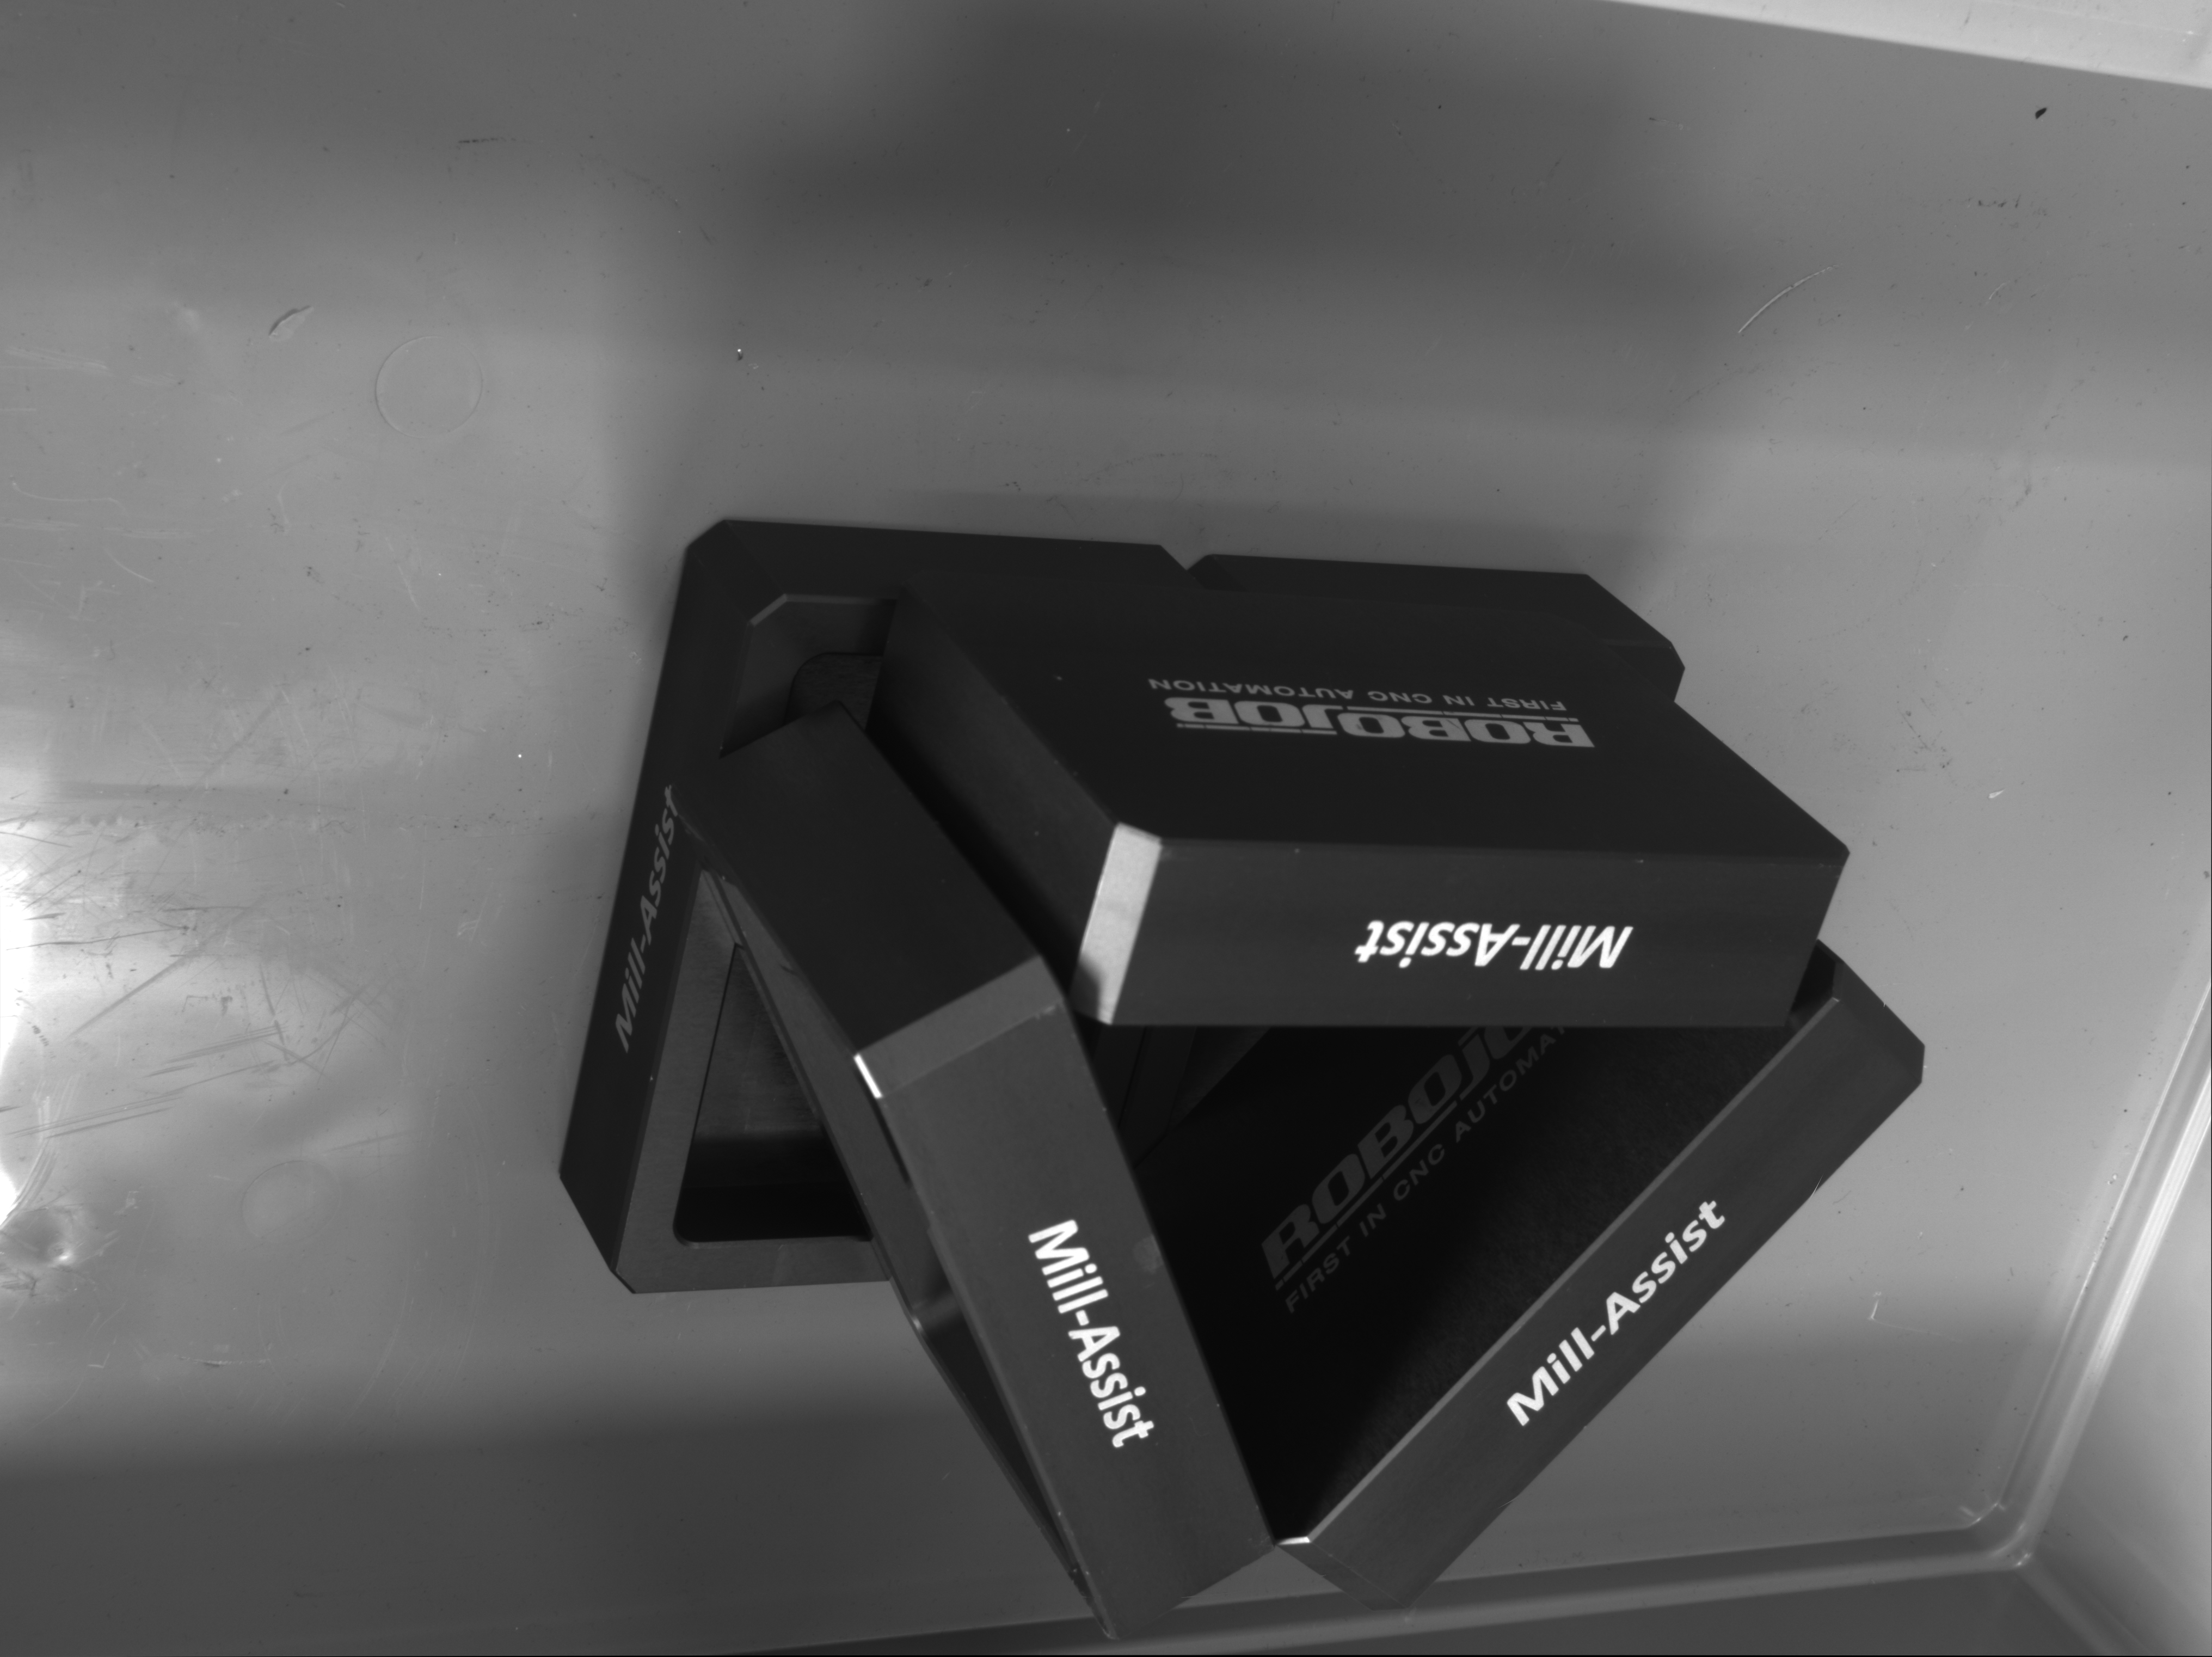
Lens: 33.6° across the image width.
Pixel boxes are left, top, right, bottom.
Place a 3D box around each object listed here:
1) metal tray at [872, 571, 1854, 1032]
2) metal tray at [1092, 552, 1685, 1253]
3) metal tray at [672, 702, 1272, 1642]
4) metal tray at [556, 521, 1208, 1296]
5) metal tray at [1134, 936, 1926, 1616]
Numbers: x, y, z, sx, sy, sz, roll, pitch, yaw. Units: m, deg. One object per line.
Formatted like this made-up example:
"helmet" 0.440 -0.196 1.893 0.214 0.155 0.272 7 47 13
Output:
"metal tray" 0.039 -0.004 0.572 0.130 0.090 0.030 2 118 -29
"metal tray" 0.044 0.017 0.667 0.090 0.030 0.130 1 117 -28
"metal tray" -0.021 0.055 0.577 0.030 0.090 0.130 -27 128 -10
"metal tray" -0.037 0.015 0.623 0.090 0.030 0.130 1 117 -28
"metal tray" 0.064 0.057 0.623 0.130 0.090 0.030 -46 129 4
